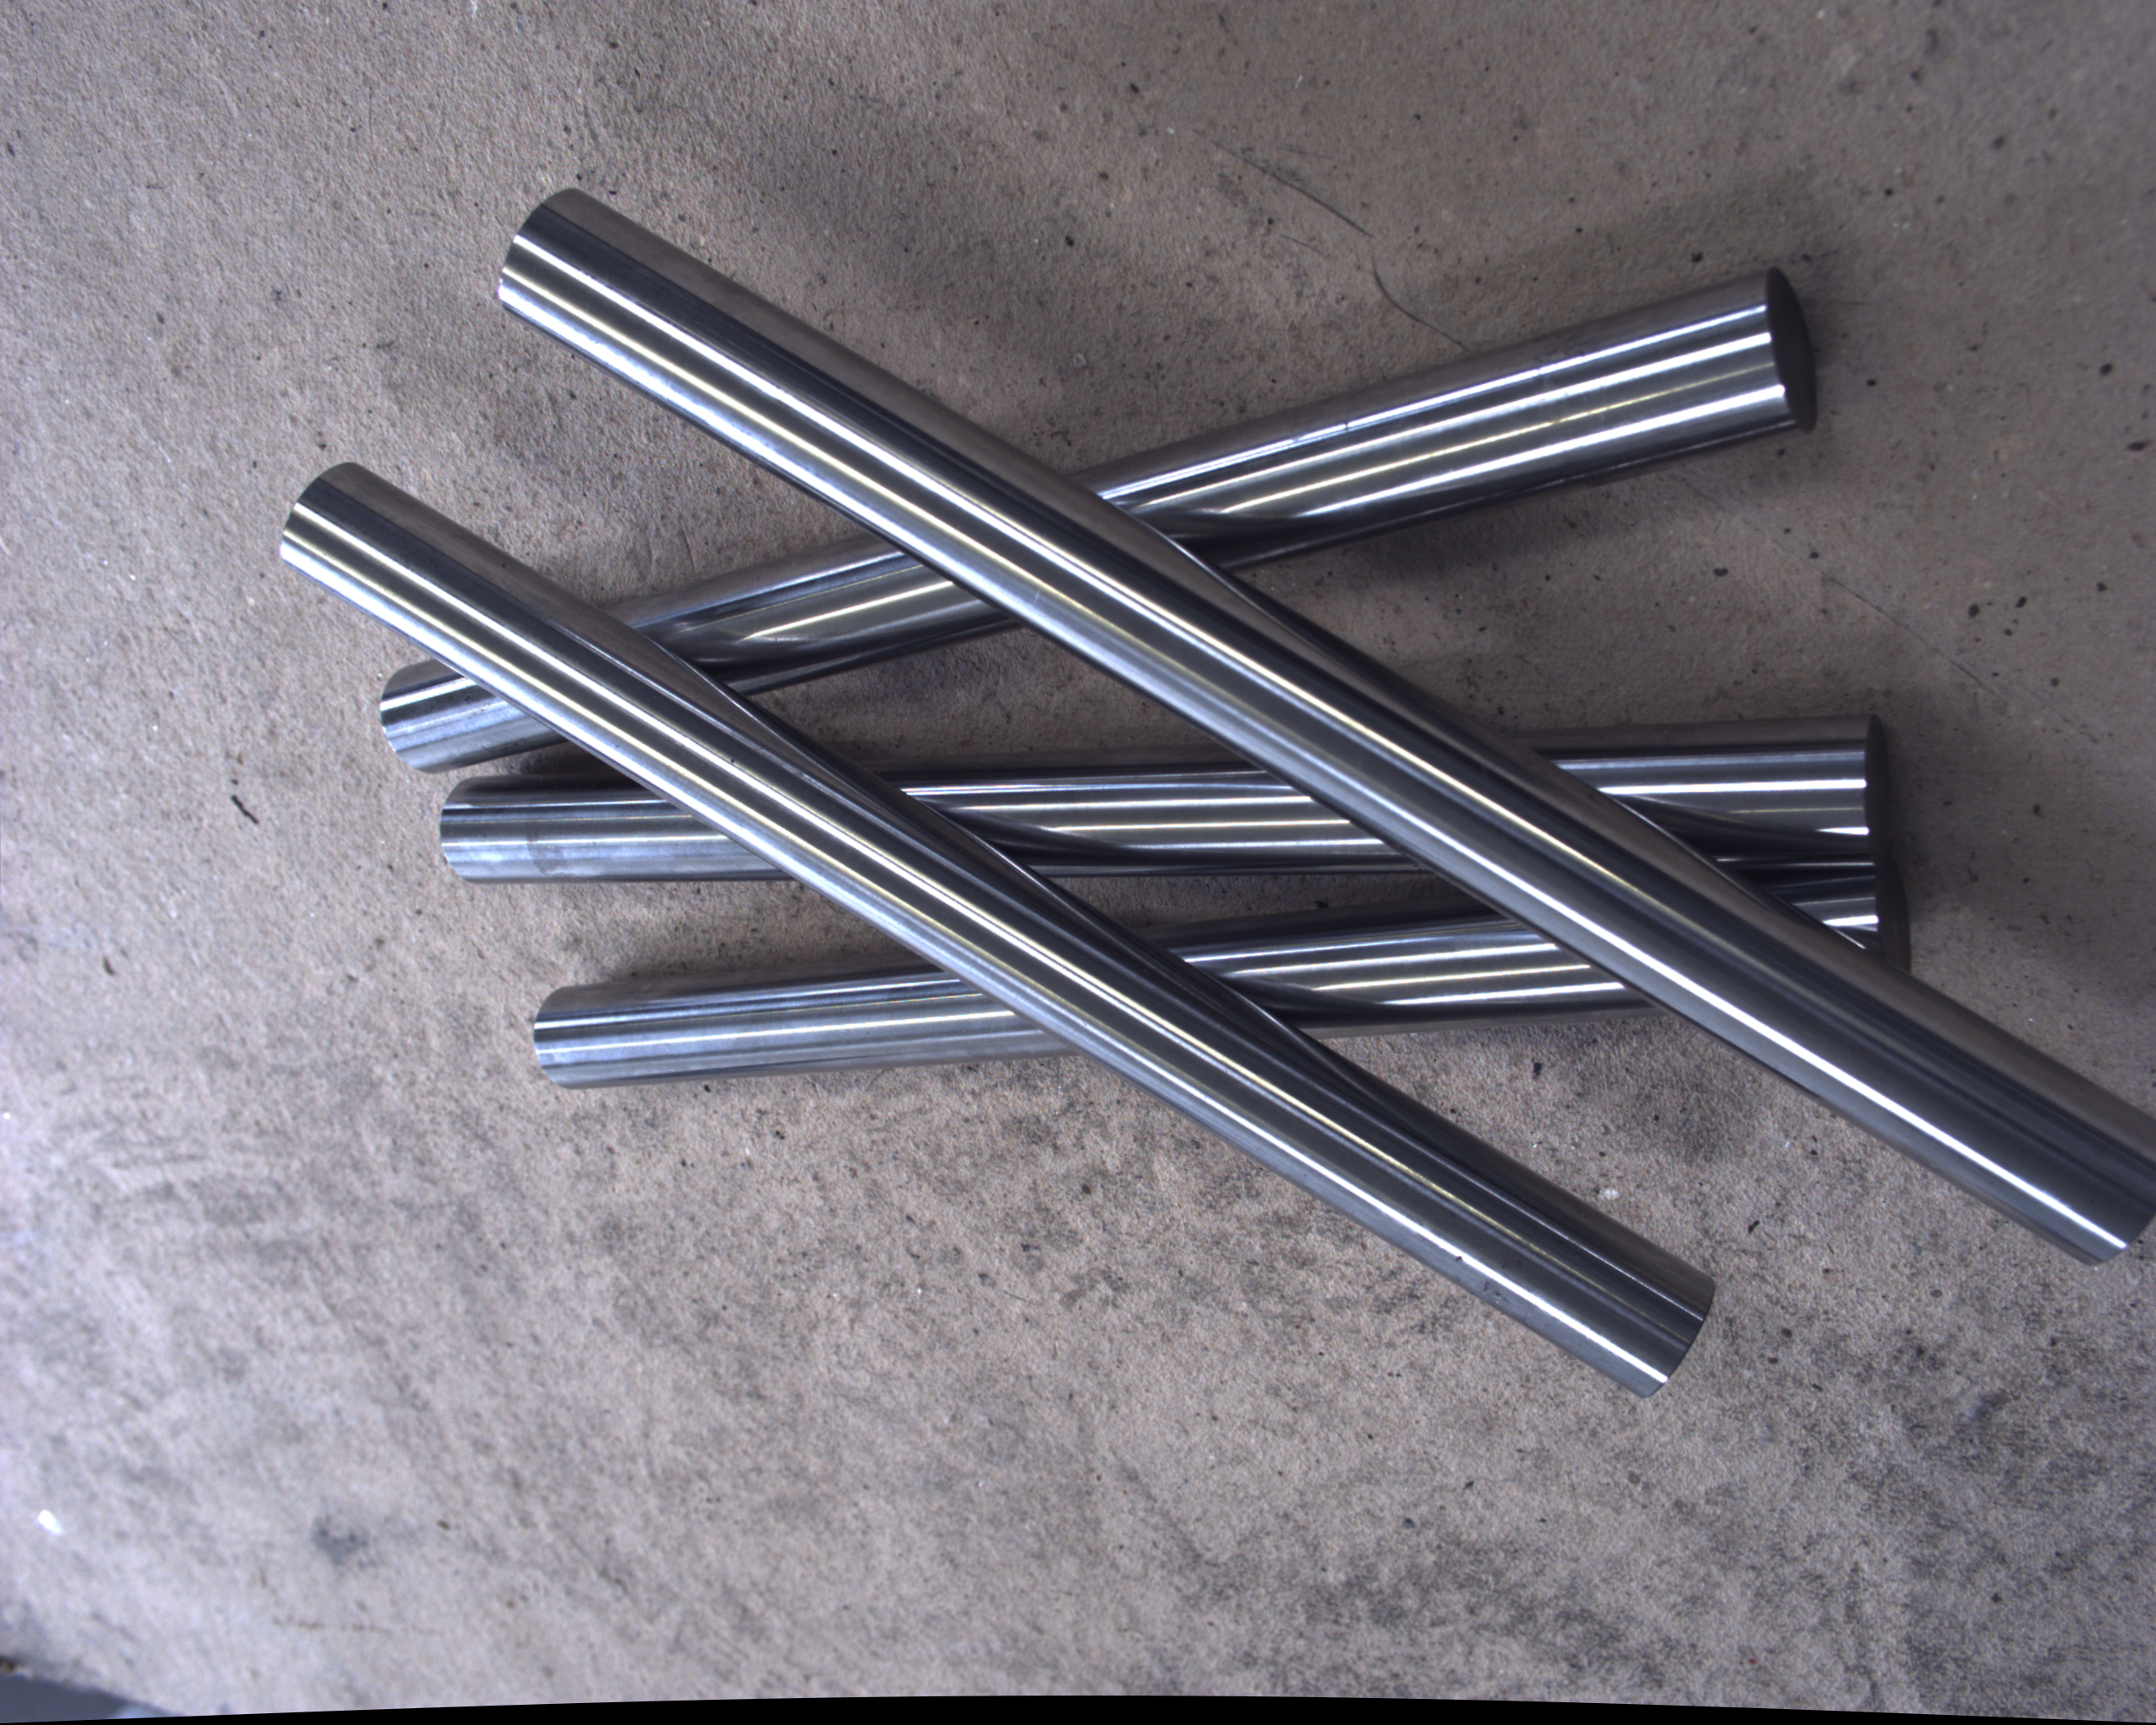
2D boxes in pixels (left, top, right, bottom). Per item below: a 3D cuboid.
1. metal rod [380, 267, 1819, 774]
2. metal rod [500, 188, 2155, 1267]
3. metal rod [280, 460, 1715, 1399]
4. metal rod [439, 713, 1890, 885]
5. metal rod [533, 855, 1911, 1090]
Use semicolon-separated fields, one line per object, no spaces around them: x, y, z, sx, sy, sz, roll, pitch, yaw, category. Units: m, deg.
-0.020;-0.054;0.386;0.300;0.025;0.025;-10;114;32;metal rod
0.036;-0.026;0.341;0.301;0.025;0.025;32;129;7;metal rod
-0.021;0.008;0.392;0.301;0.025;0.025;31;128;8;metal rod
-0.004;-0.009;0.405;0.300;0.025;0.025;-1;118;28;metal rod
0.007;0.026;0.421;0.300;0.025;0.025;-7;115;31;metal rod
